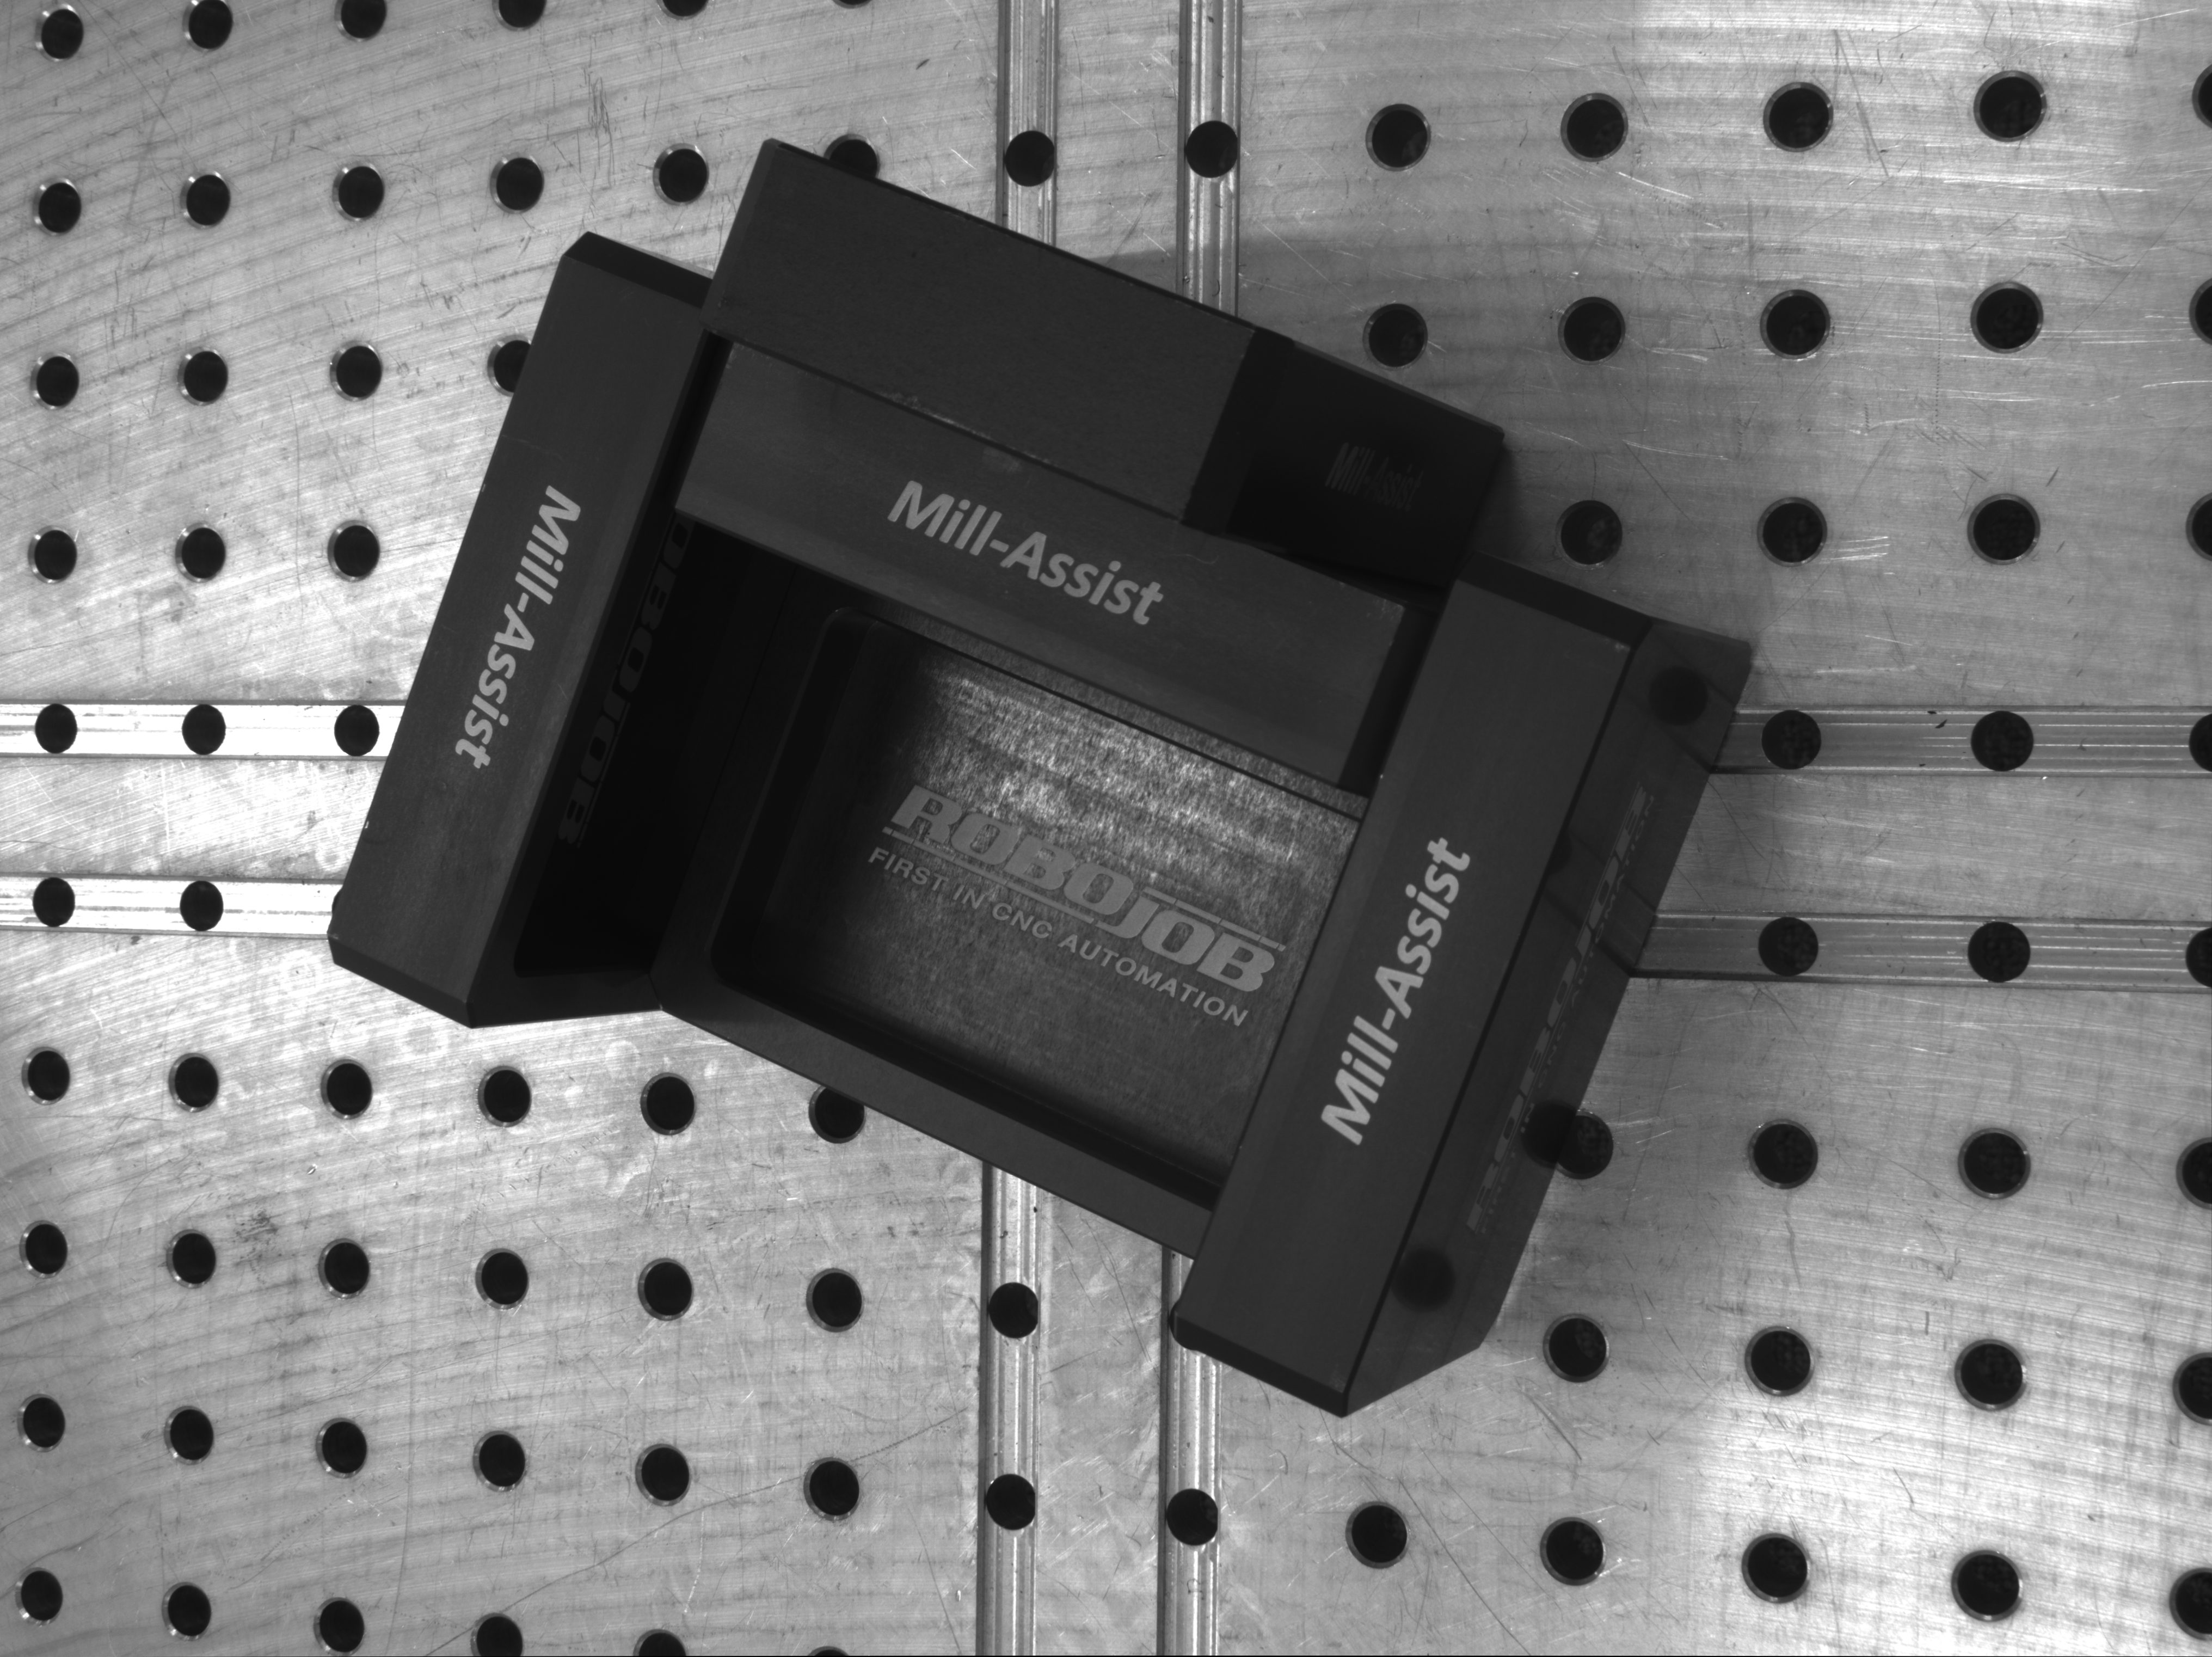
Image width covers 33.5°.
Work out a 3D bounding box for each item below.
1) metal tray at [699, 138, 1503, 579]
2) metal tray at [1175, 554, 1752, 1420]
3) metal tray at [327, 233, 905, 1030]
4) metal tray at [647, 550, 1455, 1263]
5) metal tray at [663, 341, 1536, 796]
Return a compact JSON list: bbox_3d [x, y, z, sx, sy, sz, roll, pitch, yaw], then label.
[{"bbox_3d":[0.004,-0.072,0.592,0.090,0.130,0.030,24,98,18],"label":"metal tray"},{"bbox_3d":[0.060,0.024,0.592,0.030,0.090,0.130,23,98,19],"label":"metal tray"},{"bbox_3d":[-0.082,-0.032,0.644,0.030,0.090,0.130,23,97,18],"label":"metal tray"},{"bbox_3d":[-0.007,0.014,0.649,0.130,0.030,0.090,23,98,18],"label":"metal tray"},{"bbox_3d":[0.003,-0.043,0.613,0.130,0.090,0.030,23,98,18],"label":"metal tray"}]
